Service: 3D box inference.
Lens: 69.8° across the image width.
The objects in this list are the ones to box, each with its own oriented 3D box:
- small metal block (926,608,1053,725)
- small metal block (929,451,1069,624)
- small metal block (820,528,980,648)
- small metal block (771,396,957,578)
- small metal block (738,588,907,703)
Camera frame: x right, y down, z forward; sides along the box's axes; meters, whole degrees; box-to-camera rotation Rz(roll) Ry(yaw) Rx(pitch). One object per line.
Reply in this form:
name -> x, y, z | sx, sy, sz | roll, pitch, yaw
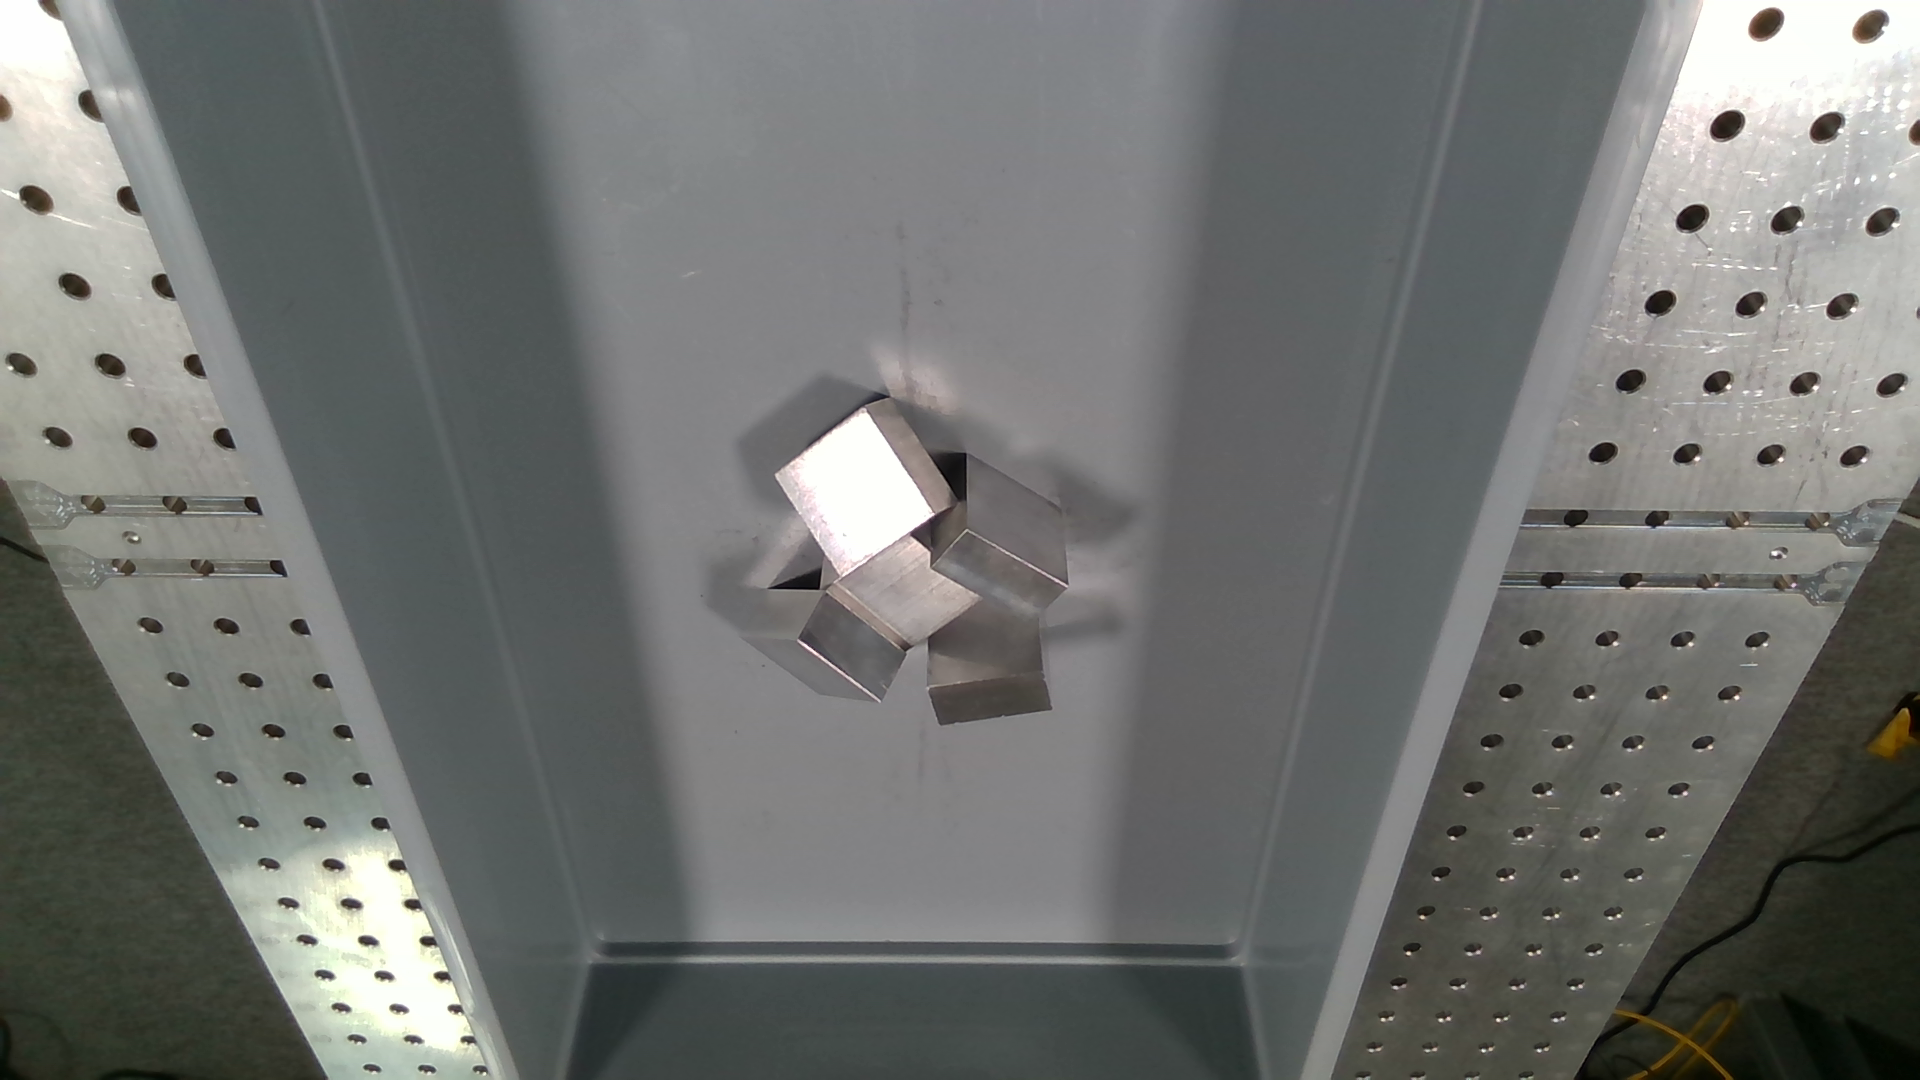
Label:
small metal block -> 0.013, 0.051, 0.603 | 0.050, 0.050, 0.025 | -9, 130, 7
small metal block -> 0.015, -0.001, 0.559 | 0.050, 0.050, 0.025 | 29, 124, -22
small metal block -> -0.024, 0.014, 0.589 | 0.050, 0.025, 0.050 | -35, 122, 26
small metal block -> -0.037, -0.021, 0.545 | 0.050, 0.025, 0.050 | -34, 90, 25
small metal block -> -0.060, 0.045, 0.599 | 0.050, 0.025, 0.050 | 41, 156, -29
